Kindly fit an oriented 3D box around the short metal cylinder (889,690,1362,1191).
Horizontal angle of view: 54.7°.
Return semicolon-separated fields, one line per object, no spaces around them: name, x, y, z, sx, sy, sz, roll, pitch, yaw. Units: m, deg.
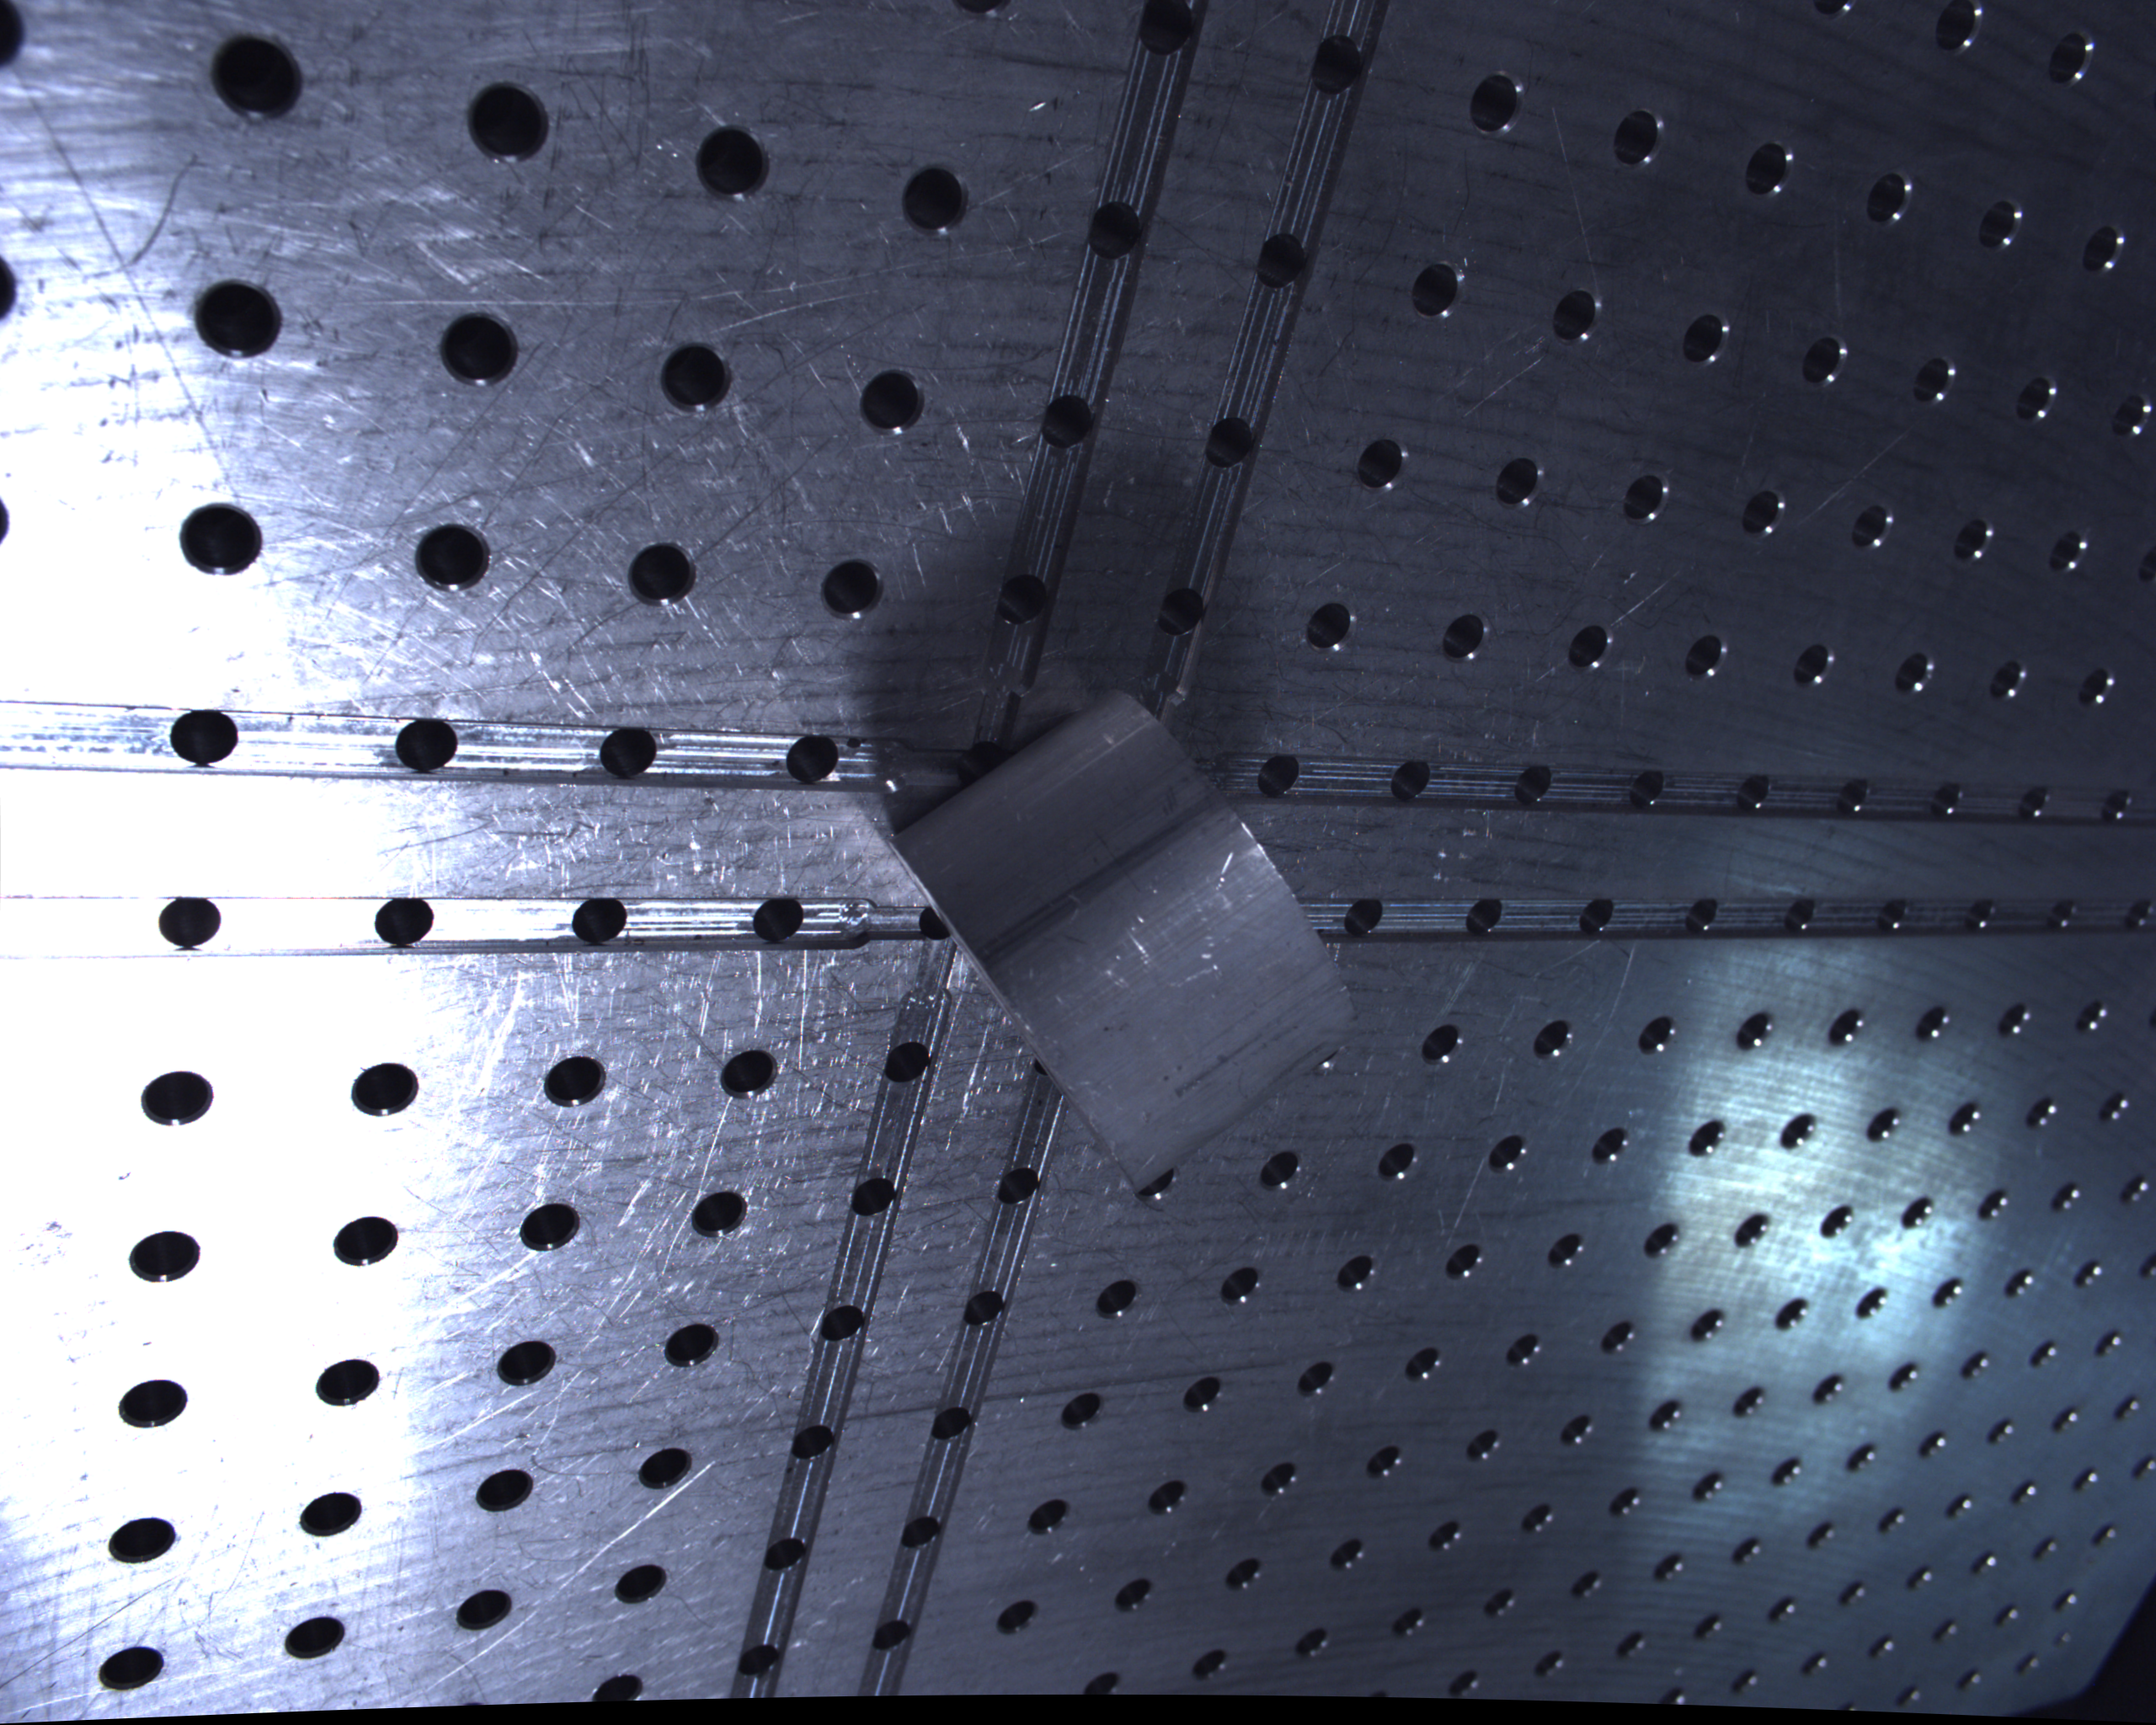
short metal cylinder;0.008;0.015;0.390;0.050;0.080;0.080;-35;129;-6
